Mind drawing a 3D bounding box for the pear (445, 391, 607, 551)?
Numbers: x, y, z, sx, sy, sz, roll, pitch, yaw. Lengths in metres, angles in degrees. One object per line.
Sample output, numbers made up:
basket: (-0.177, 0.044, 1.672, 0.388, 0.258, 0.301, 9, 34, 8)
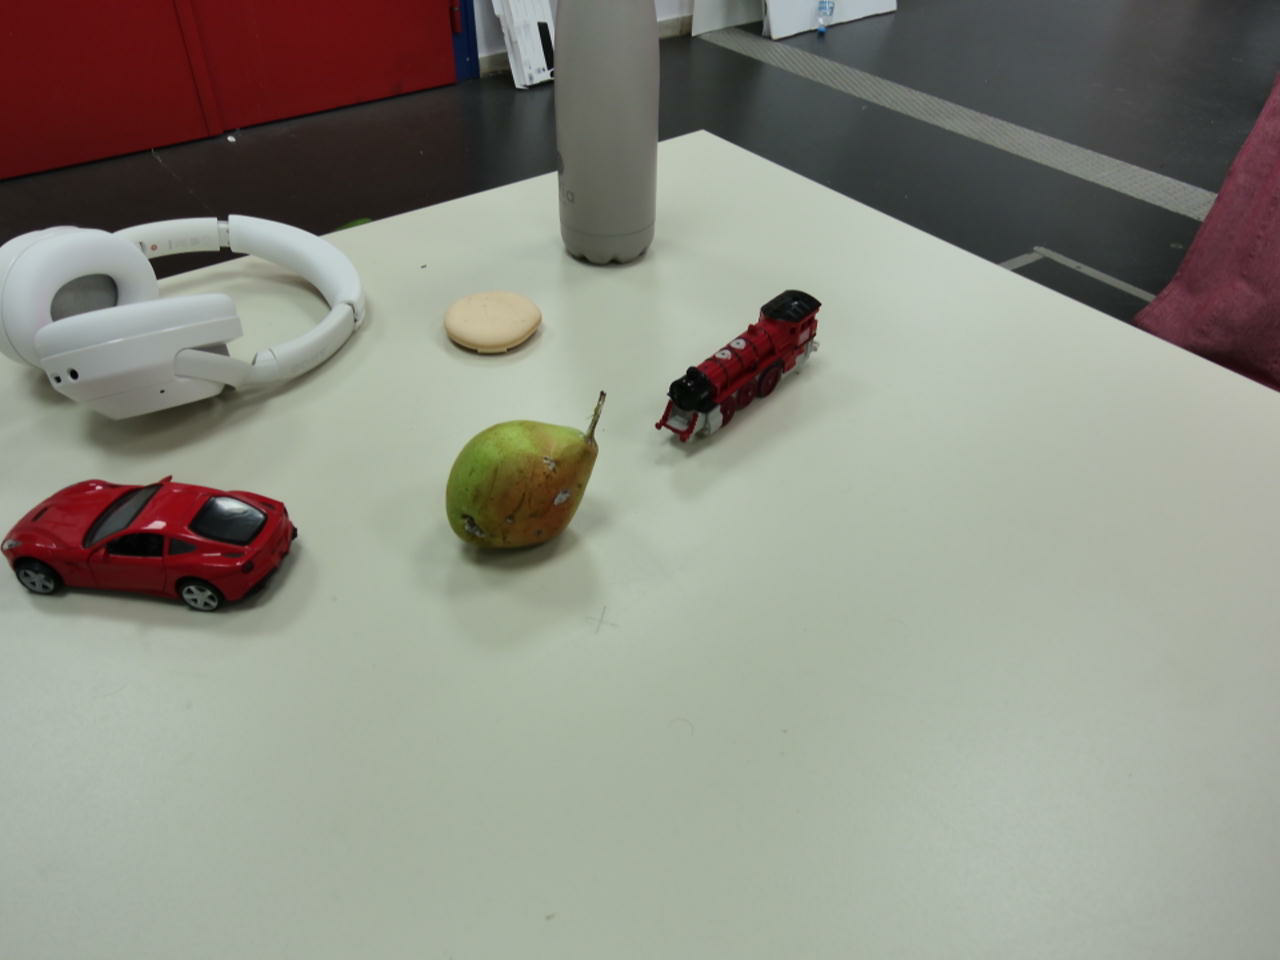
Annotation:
pear: (-0.057, 0.000, 0.487, 0.070, 0.069, 0.068, 8, 39, 10)
